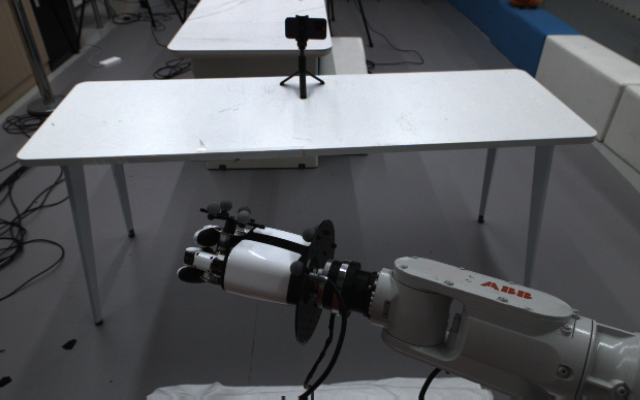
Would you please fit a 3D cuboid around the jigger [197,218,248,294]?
[{"bbox_3d":[-0.128,0.074,0.639,0.043,0.071,0.043,17,2,-1],"label":"jigger"}]
